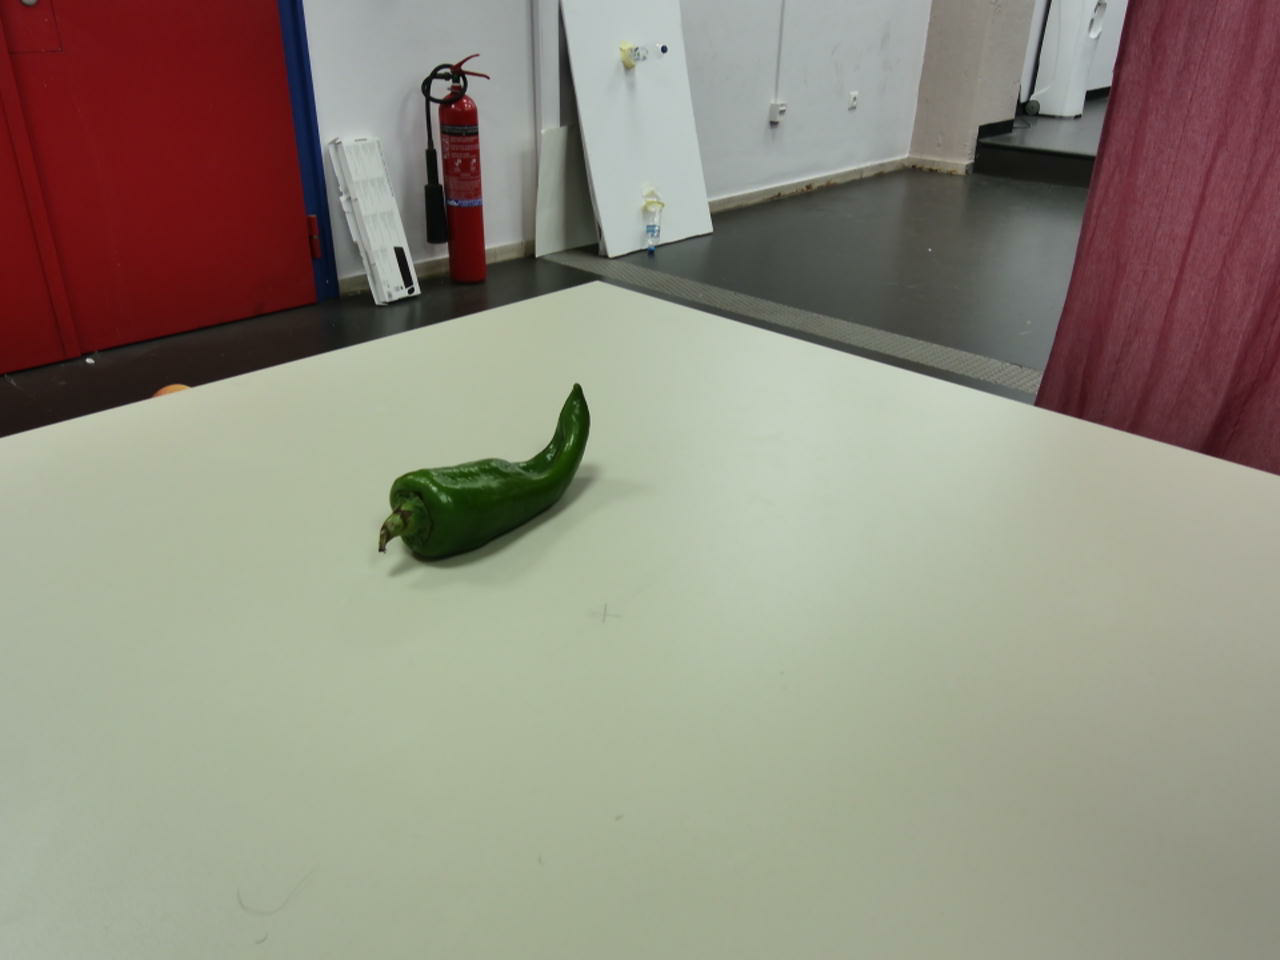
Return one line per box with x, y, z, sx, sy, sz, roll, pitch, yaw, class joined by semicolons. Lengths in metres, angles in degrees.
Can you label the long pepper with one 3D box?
-0.086;-0.003;0.595;0.058;0.065;0.175;21;32;35;long pepper
